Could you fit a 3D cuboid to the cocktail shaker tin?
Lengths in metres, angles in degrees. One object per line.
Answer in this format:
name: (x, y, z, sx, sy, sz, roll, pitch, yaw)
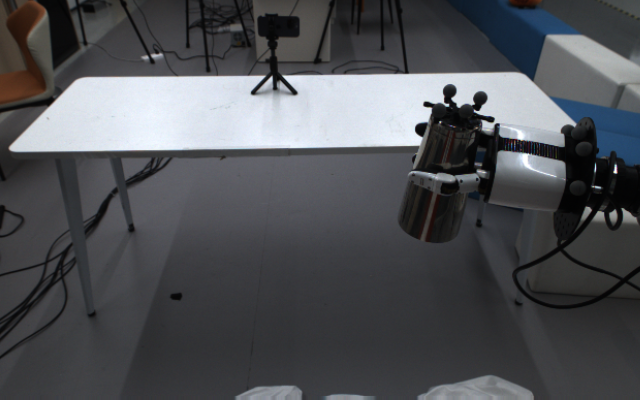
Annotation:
cocktail shaker tin: (0.168, -0.037, 0.664, 0.093, 0.170, 0.093, 4, 36, -3)
